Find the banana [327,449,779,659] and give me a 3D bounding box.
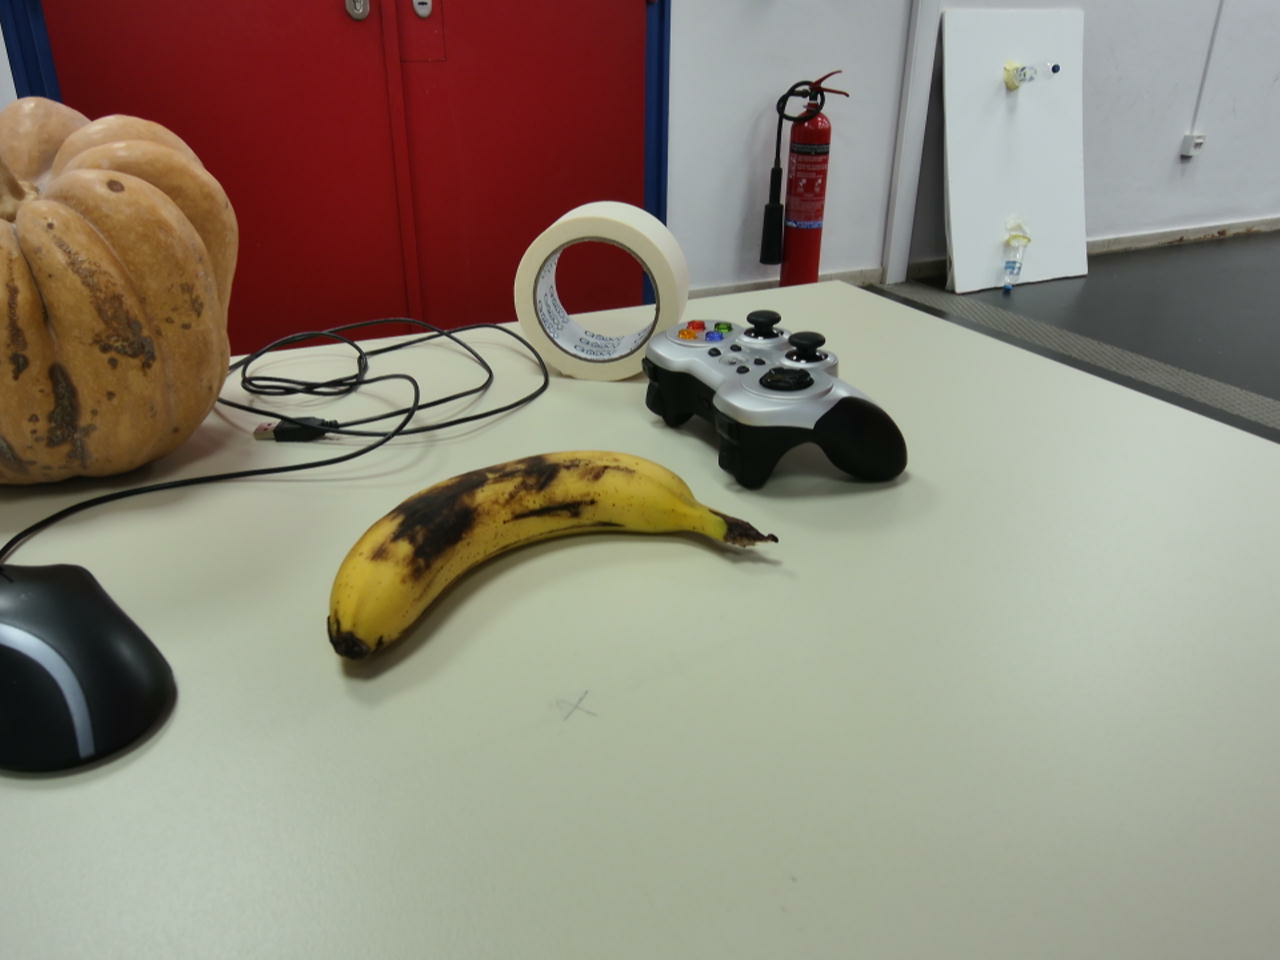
[{"bbox_3d":[-0.047,0.021,0.425,0.187,0.039,0.094,-12,27,-26],"label":"banana"}]
